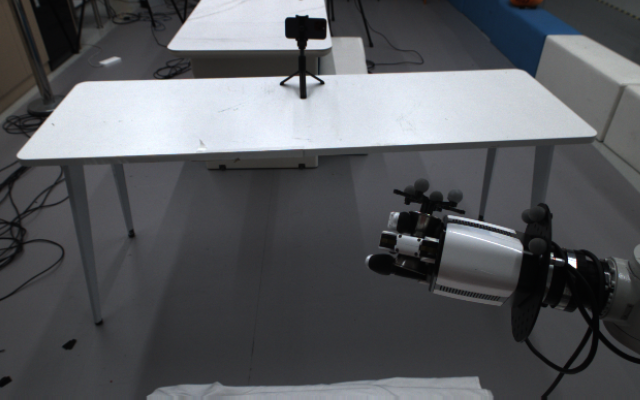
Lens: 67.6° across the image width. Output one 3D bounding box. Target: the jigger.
[{"bbox_3d":[0.117,0.050,0.578,0.043,0.071,0.043,19,-6,2],"label":"jigger"}]
